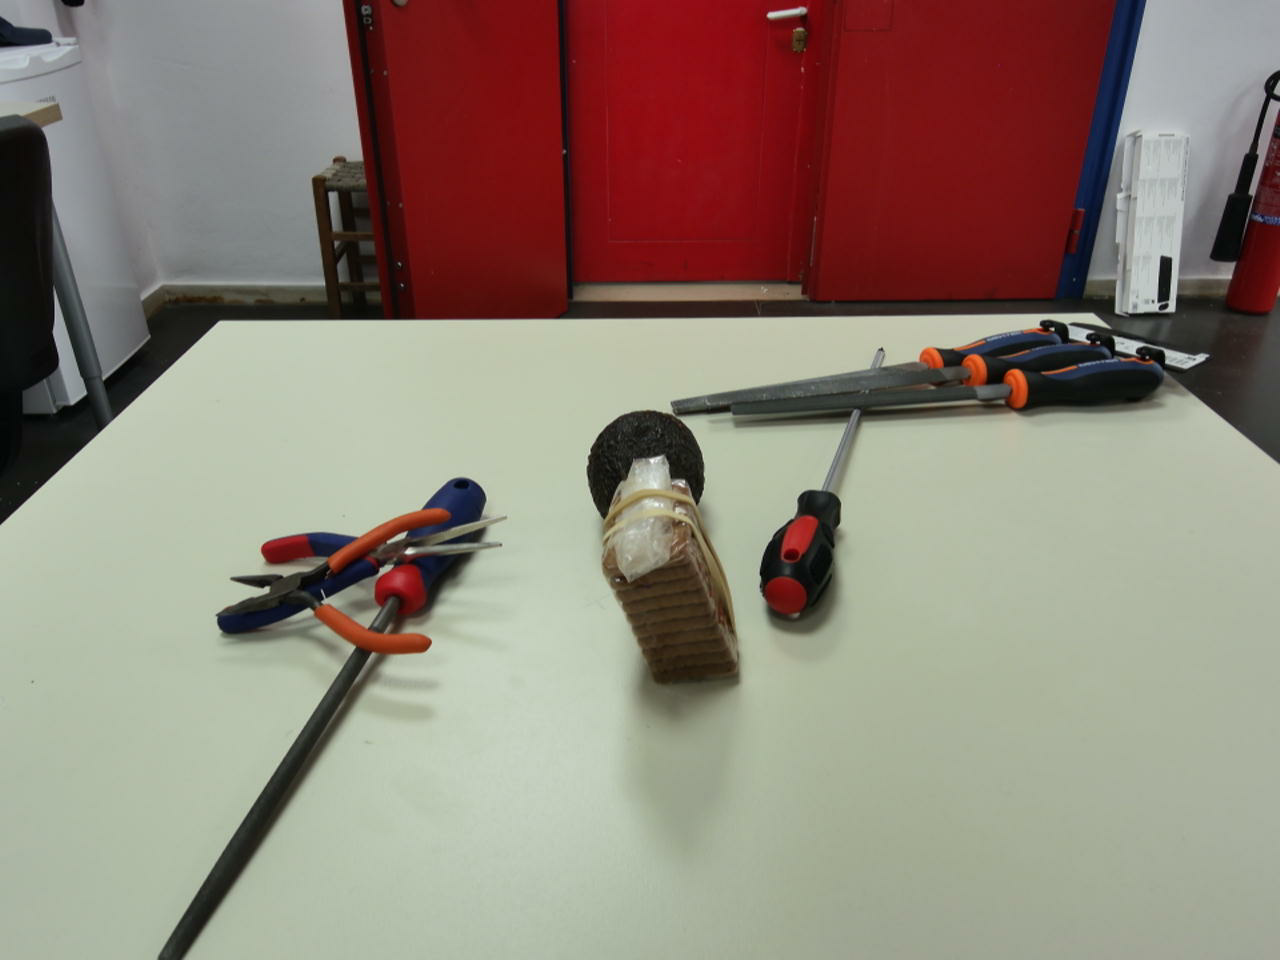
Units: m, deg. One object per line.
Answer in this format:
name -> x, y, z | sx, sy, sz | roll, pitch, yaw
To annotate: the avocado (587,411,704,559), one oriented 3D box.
avocado -> 0.001, -0.002, 0.581 | 0.070, 0.069, 0.090 | 11, 29, 22
